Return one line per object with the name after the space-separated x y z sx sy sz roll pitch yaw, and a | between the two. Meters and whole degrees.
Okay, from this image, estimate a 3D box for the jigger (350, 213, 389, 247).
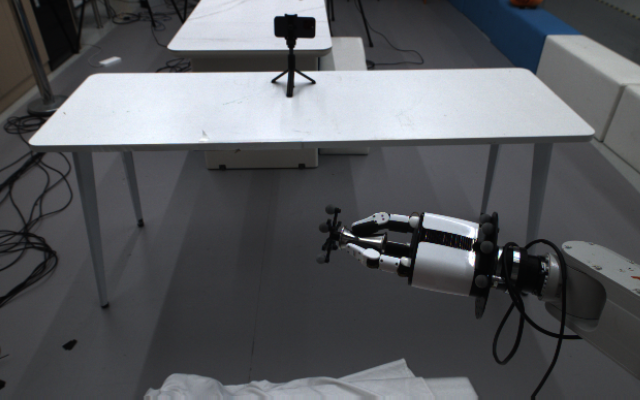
0.073 0.062 0.756 0.071 0.043 0.043 11 36 16 | jigger
